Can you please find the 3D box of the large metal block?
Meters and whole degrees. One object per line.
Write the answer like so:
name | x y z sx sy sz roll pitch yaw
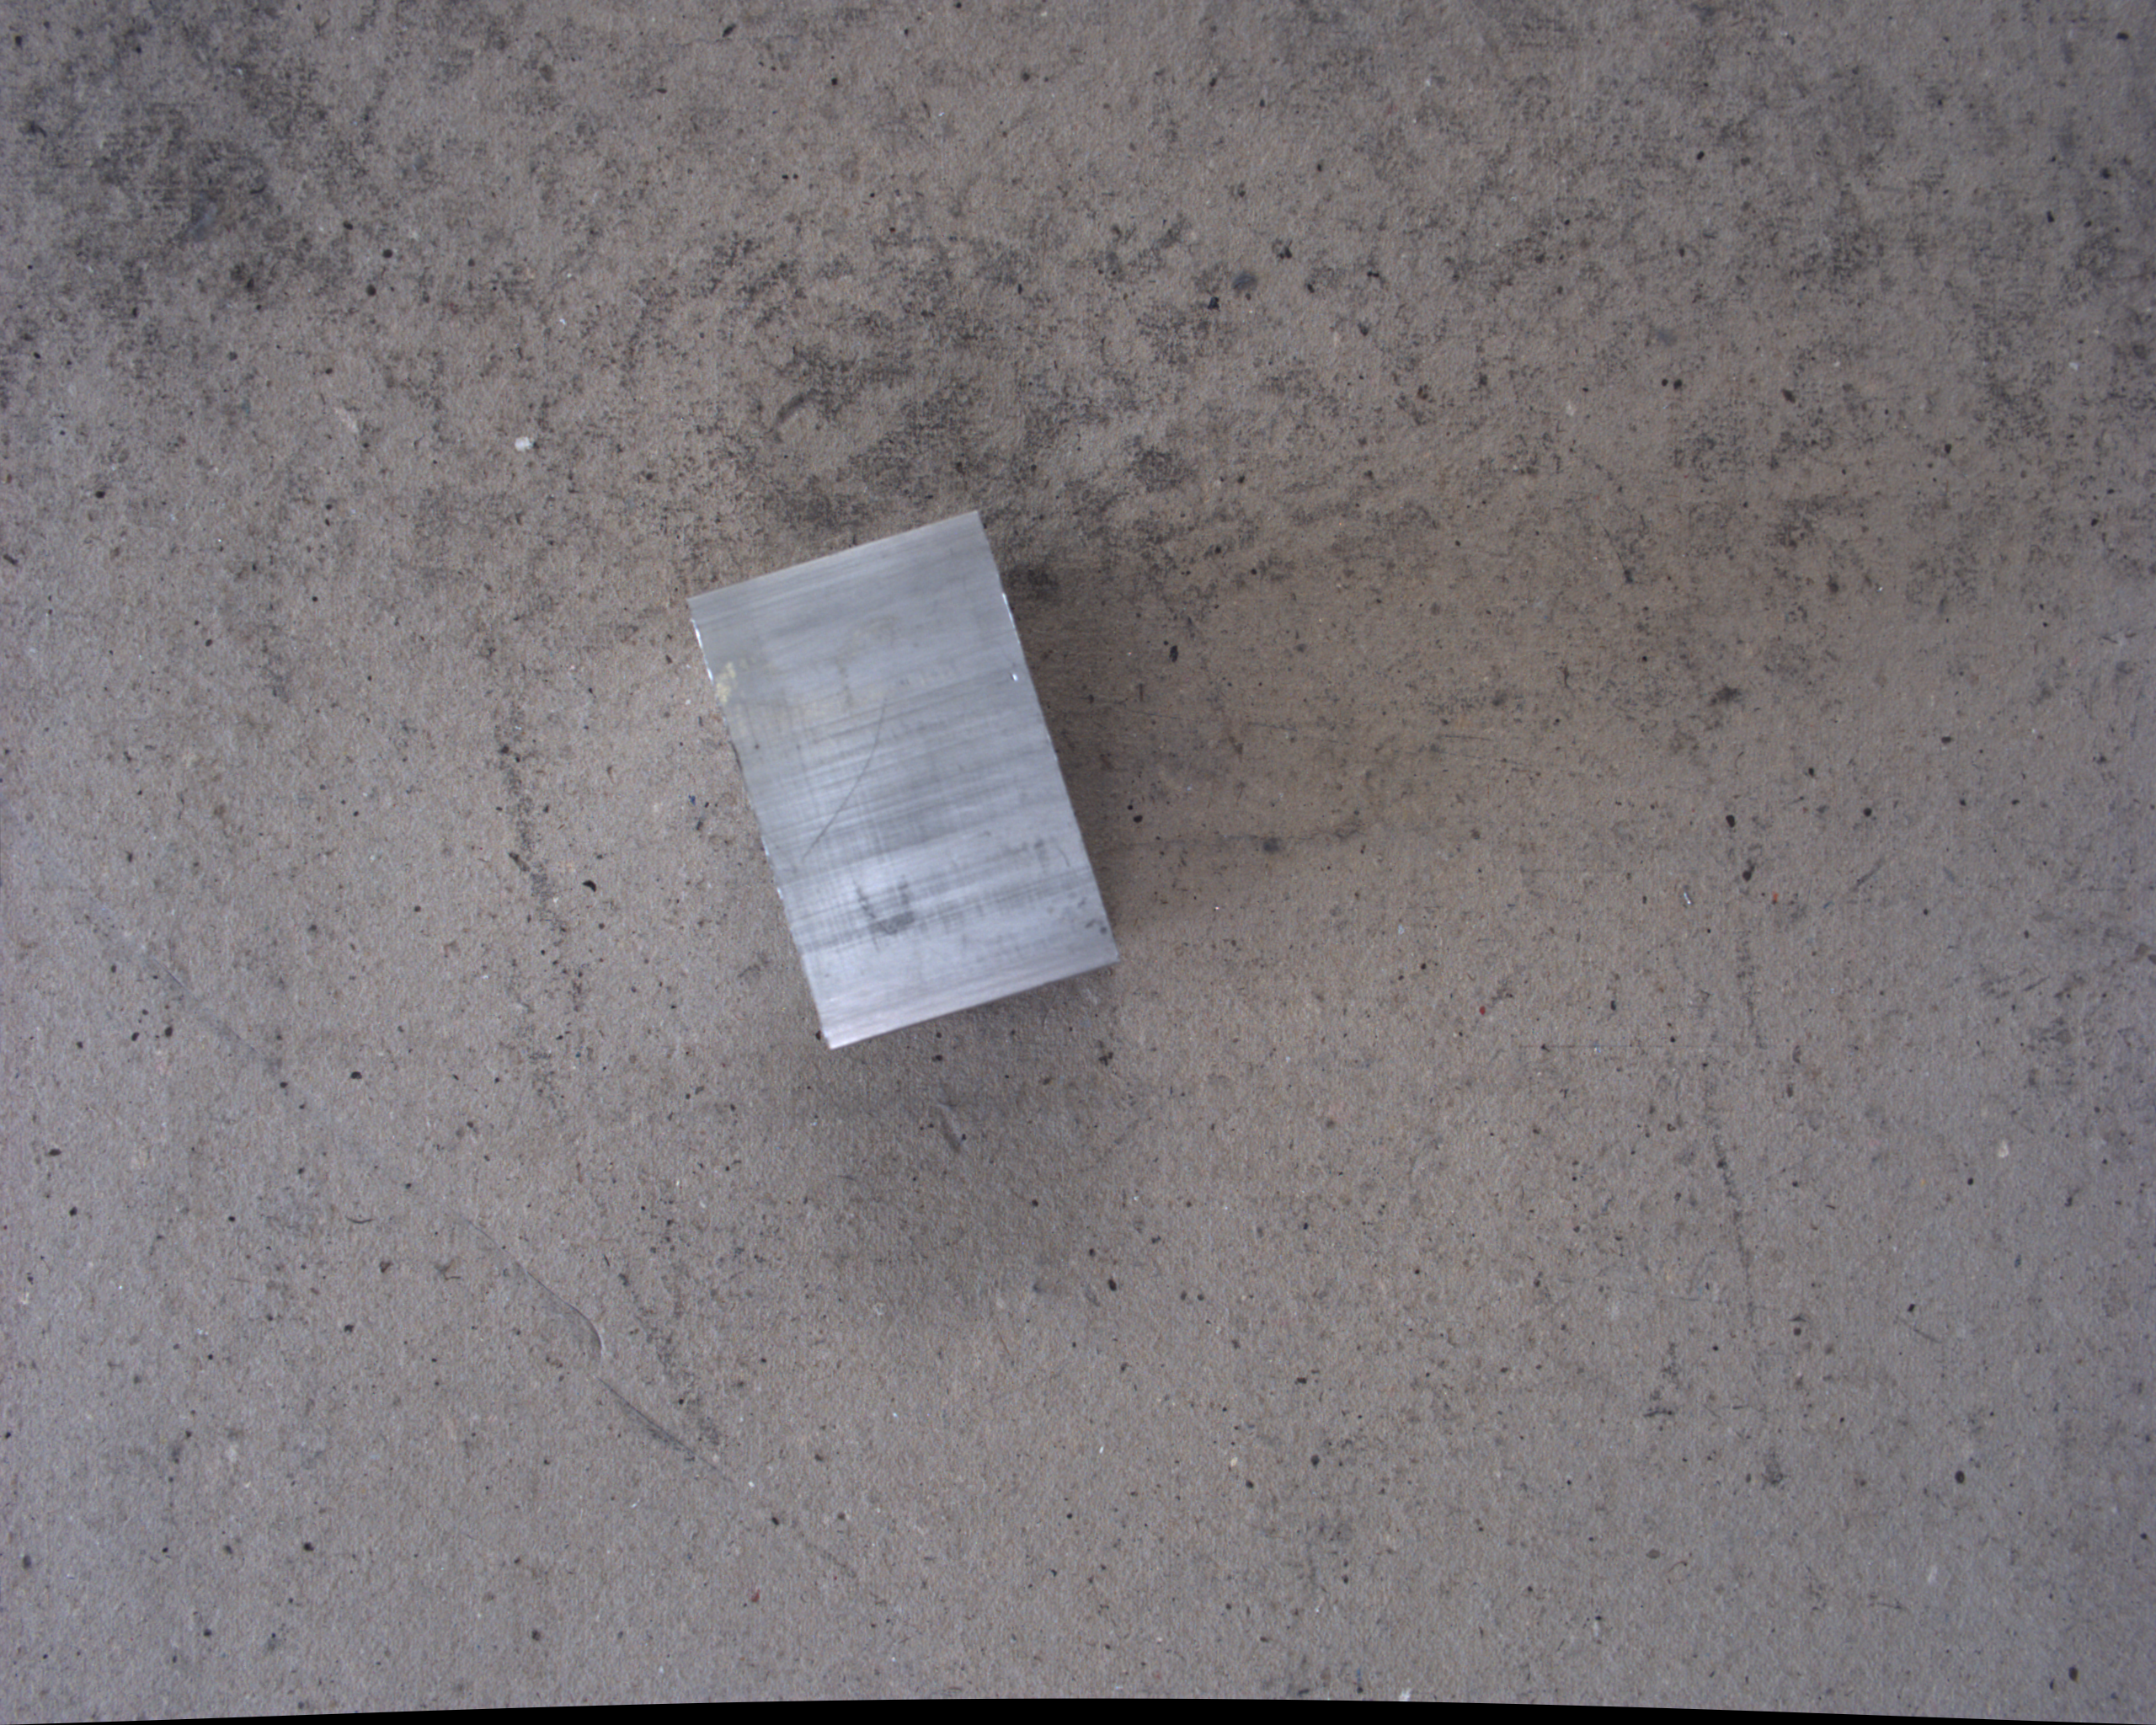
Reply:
large metal block | -0.029 -0.013 0.383 0.050 0.080 0.080 -17 90 0
